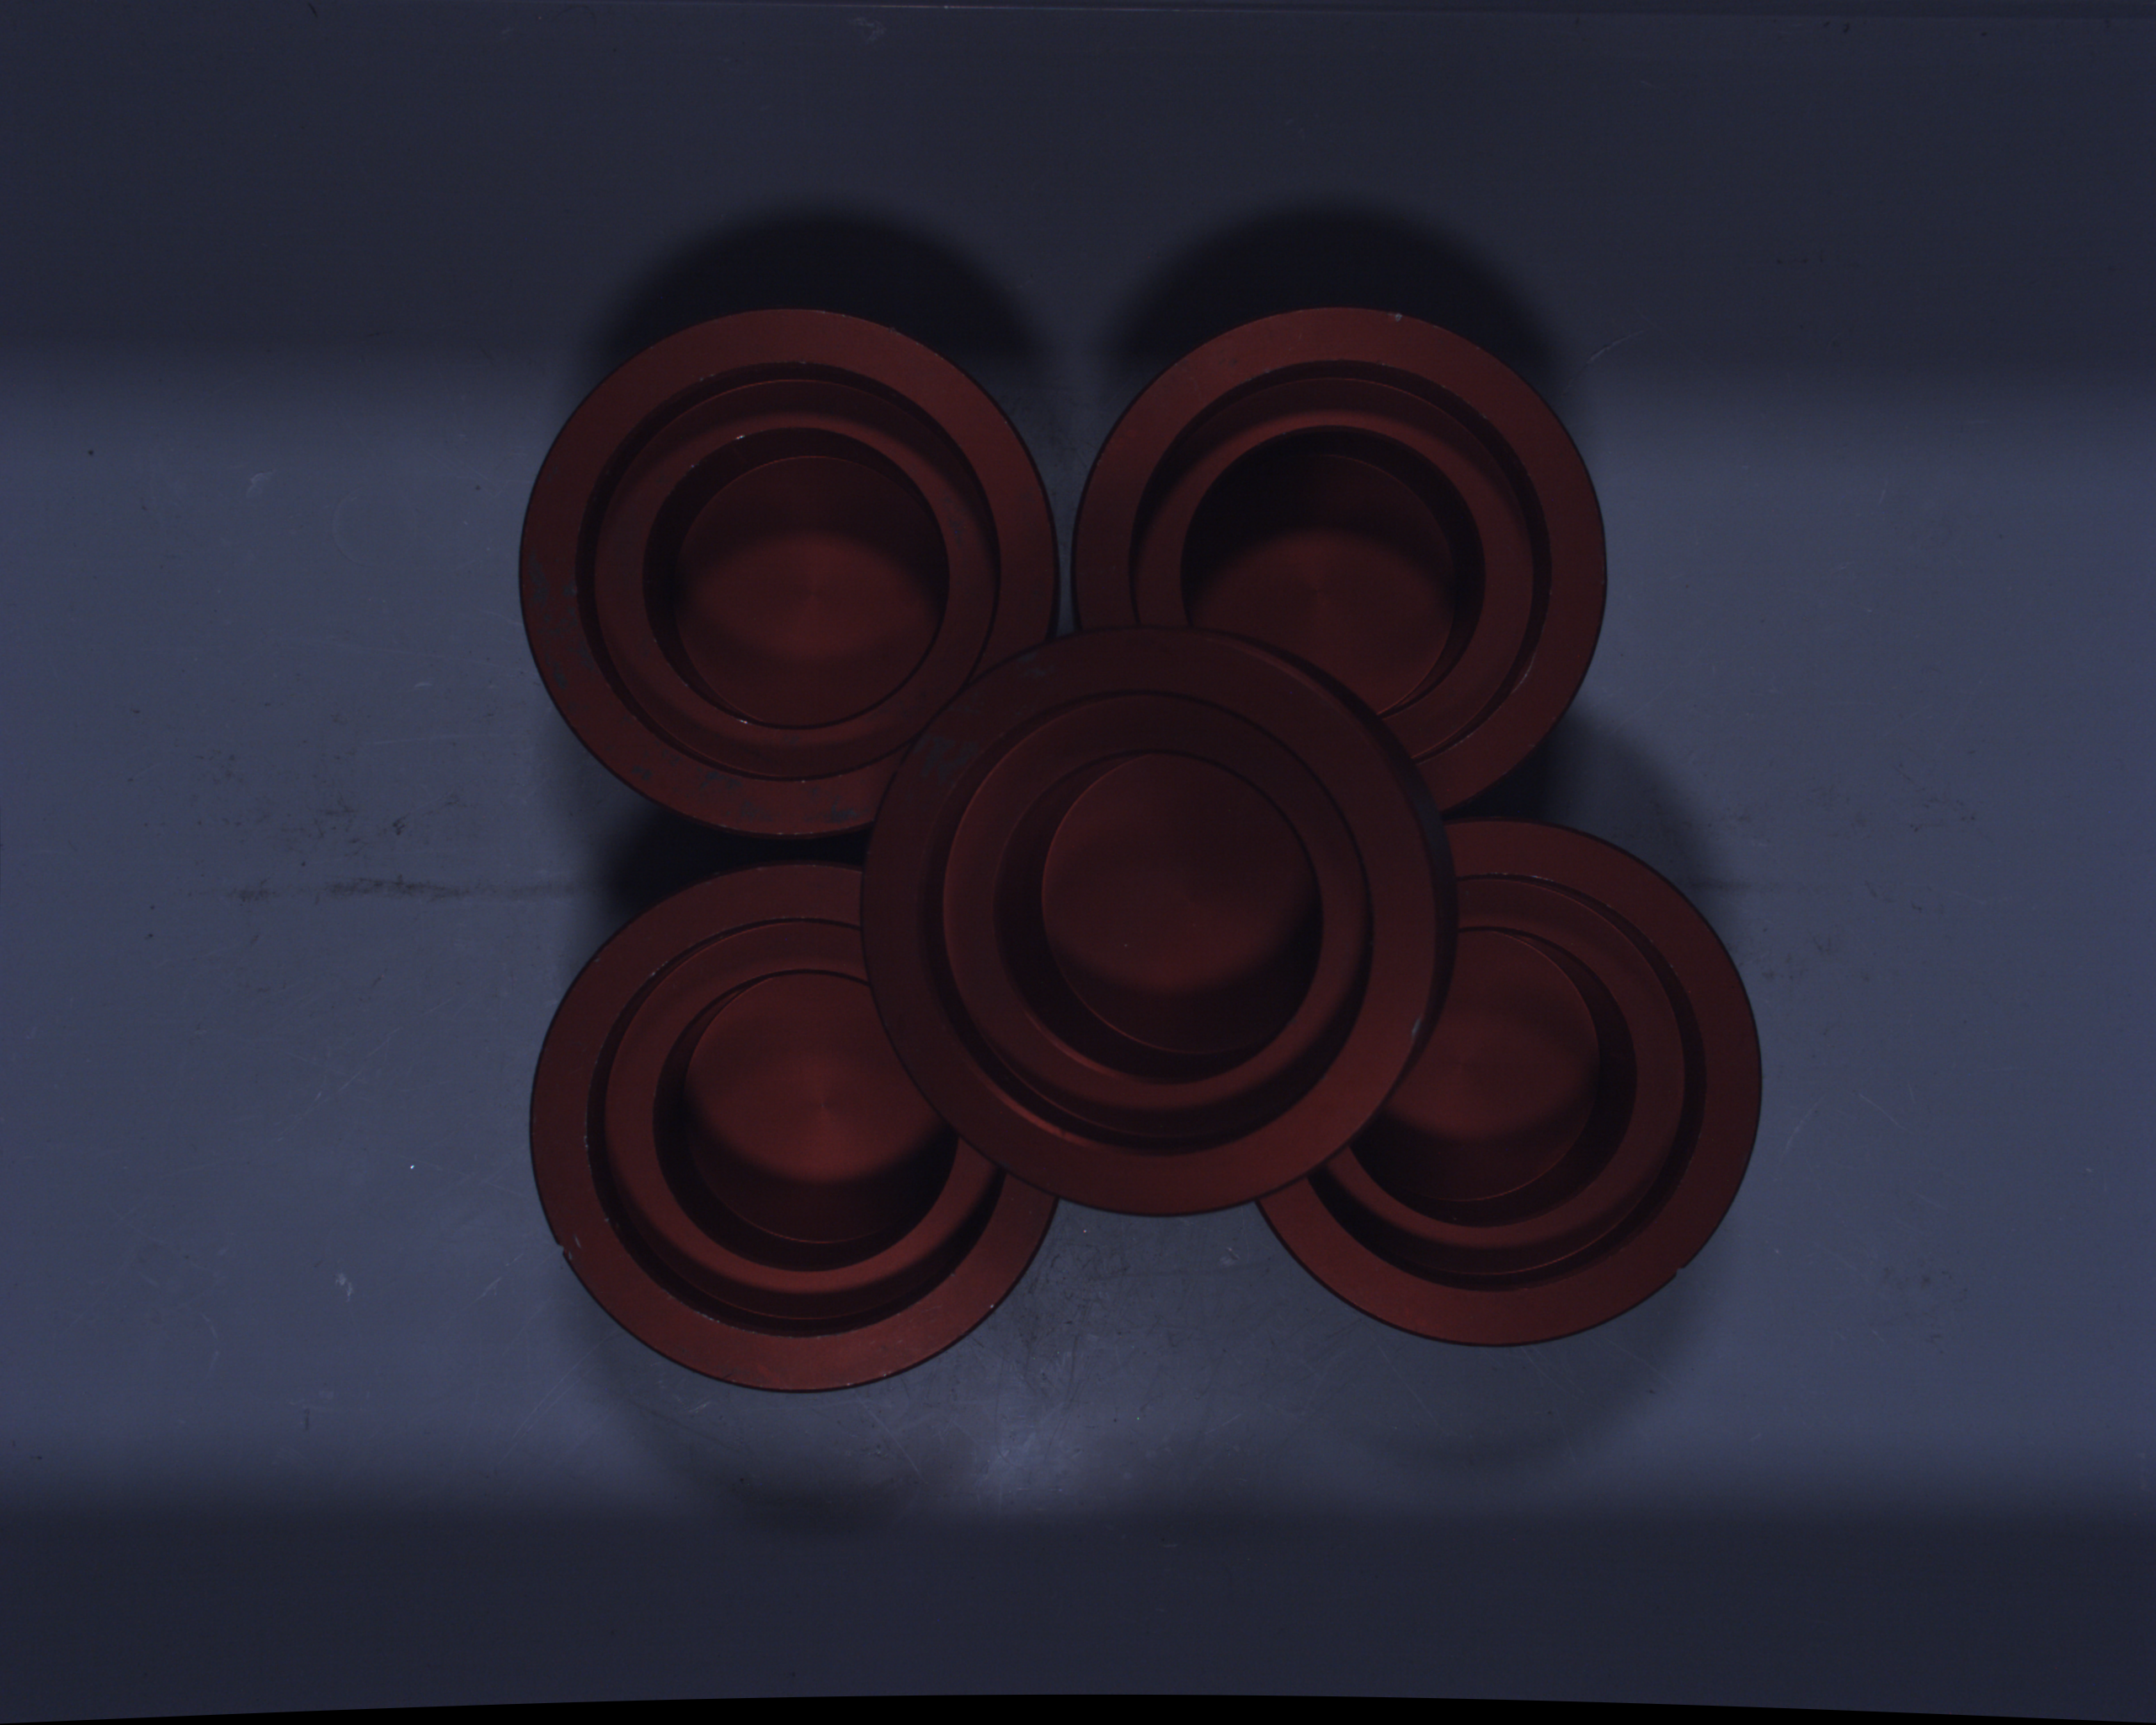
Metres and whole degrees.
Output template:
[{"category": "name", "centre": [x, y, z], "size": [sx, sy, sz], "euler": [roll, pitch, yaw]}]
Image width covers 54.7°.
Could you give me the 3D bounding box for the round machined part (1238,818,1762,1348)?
[{"category": "round machined part", "centre": [0.076, 0.040, 0.402], "size": [0.099, 0.042, 0.097], "euler": [0, 90, -1]}]

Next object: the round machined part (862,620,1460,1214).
[{"category": "round machined part", "centre": [0.016, 0.008, 0.359], "size": [0.098, 0.042, 0.097], "euler": [2, 95, 18]}]

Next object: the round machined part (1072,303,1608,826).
[{"category": "round machined part", "centre": [0.048, -0.054, 0.402], "size": [0.099, 0.042, 0.097], "euler": [0, 90, -1]}]

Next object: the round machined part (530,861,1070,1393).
[{"category": "round machined part", "centre": [-0.051, 0.048, 0.401], "size": [0.099, 0.042, 0.097], "euler": [0, 90, -1]}]

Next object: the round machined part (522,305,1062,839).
[{"category": "round machined part", "centre": [-0.052, -0.053, 0.400], "size": [0.099, 0.042, 0.097], "euler": [0, 90, -1]}]
